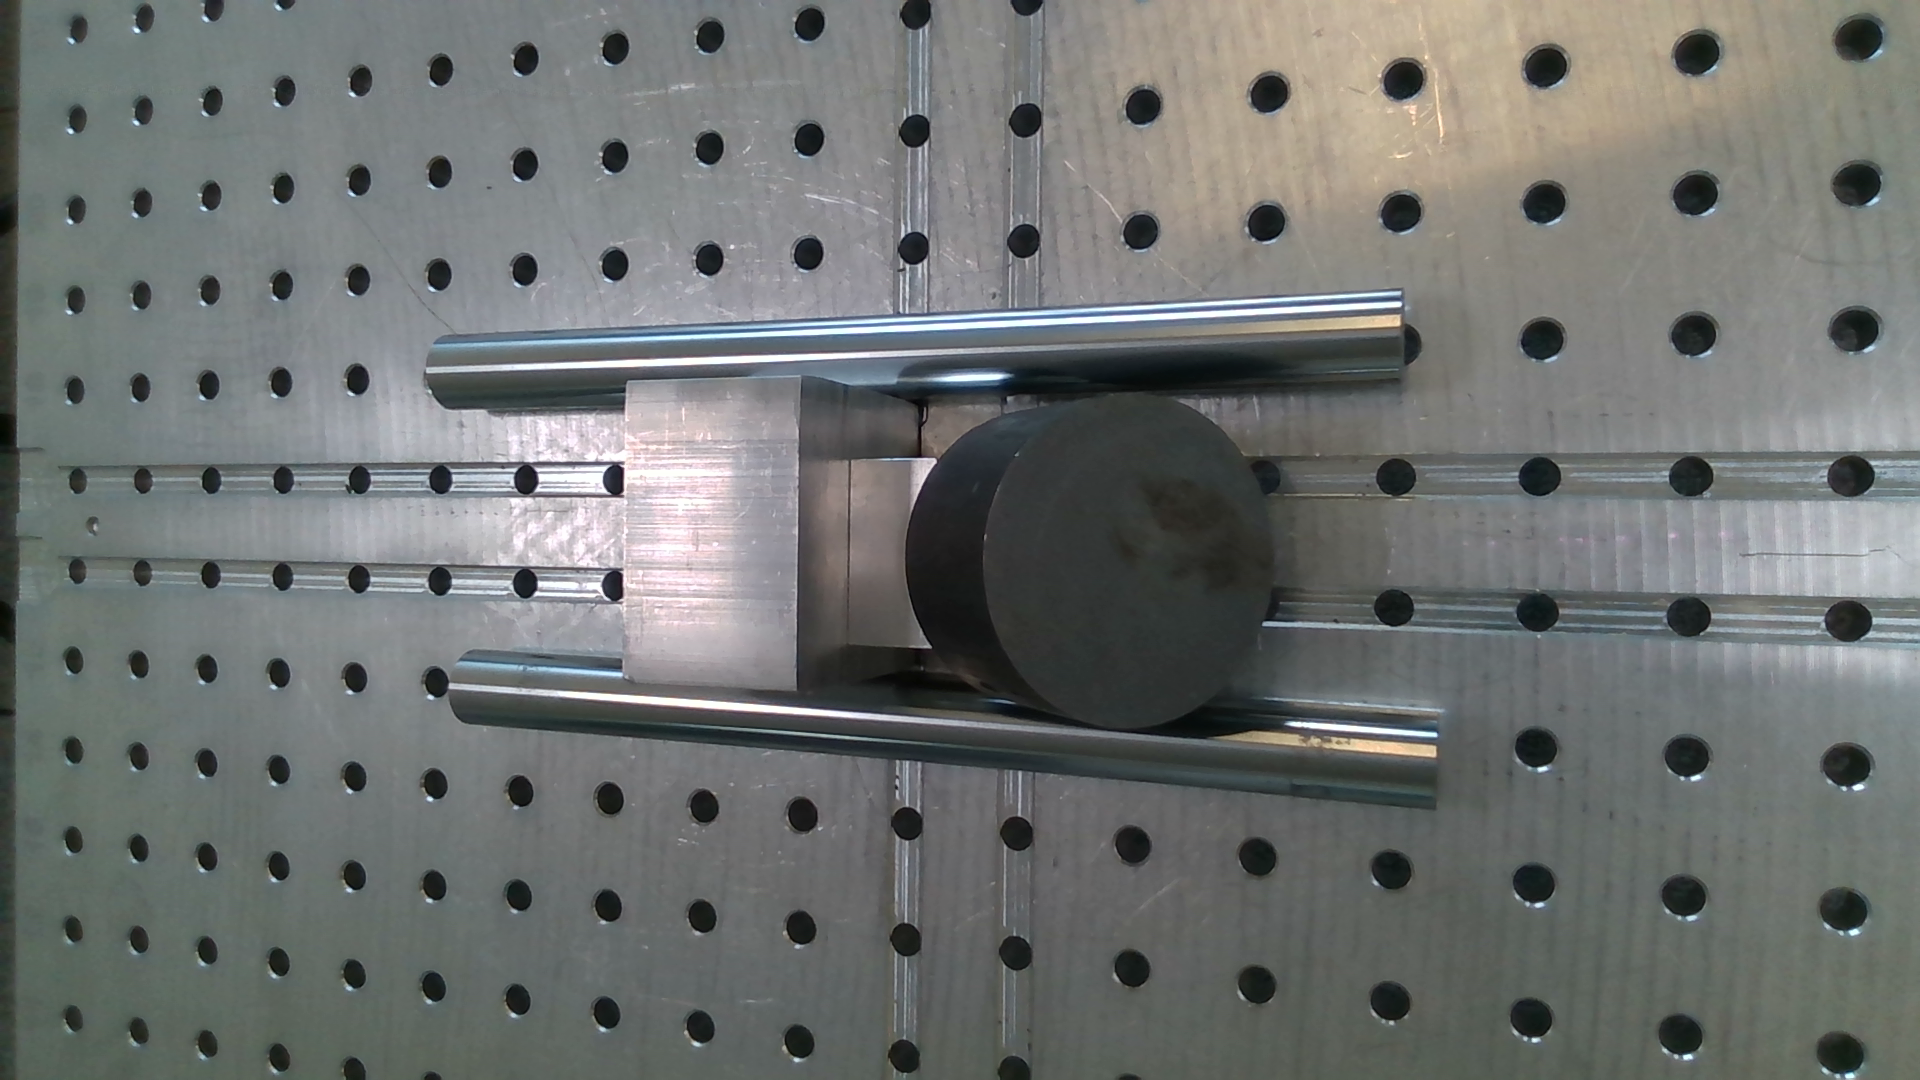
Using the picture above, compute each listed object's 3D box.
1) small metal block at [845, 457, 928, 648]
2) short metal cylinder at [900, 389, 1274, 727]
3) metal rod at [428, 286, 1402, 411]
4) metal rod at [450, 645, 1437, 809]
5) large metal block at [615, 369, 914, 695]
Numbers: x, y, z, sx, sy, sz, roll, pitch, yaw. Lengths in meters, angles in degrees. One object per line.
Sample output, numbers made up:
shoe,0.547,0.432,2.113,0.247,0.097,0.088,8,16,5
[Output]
small metal block,-0.010,0.003,0.387,0.025,0.050,0.050,2,91,20
short metal cylinder,0.031,0.004,0.349,0.080,0.050,0.080,0,91,-24
metal rod,-0.027,-0.054,0.406,0.300,0.025,0.025,1,90,20
metal rod,-0.019,0.052,0.404,0.300,0.025,0.025,2,91,20
large metal block,-0.051,-0.002,0.384,0.050,0.080,0.080,1,90,20
